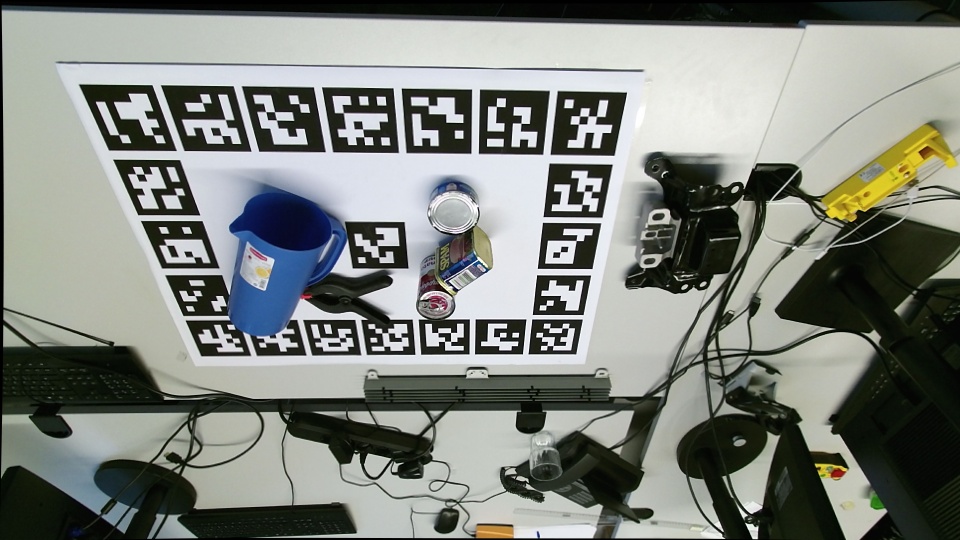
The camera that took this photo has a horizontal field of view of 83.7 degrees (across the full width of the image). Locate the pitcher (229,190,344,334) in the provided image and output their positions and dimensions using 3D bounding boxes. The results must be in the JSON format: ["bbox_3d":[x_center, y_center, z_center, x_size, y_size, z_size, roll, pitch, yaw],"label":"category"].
[{"bbox_3d":[-0.338,-0.003,0.898,0.189,0.132,0.243,3,137,-32],"label":"pitcher"}]

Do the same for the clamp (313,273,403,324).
[{"bbox_3d":[-0.231,0.051,1.018,0.166,0.036,0.122,4,130,-1],"label":"clamp"}]

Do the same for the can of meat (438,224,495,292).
[{"bbox_3d":[-0.021,-0.023,0.915,0.084,0.101,0.058,-32,120,15],"label":"can of meat"}]

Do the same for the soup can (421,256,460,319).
[{"bbox_3d":[-0.071,0.029,0.958,0.068,0.101,0.068,-3,125,-4],"label":"soup can"}]

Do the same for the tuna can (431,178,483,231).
[{"bbox_3d":[-0.039,-0.110,0.896,0.086,0.033,0.086,-1,125,-2],"label":"tuna can"}]
